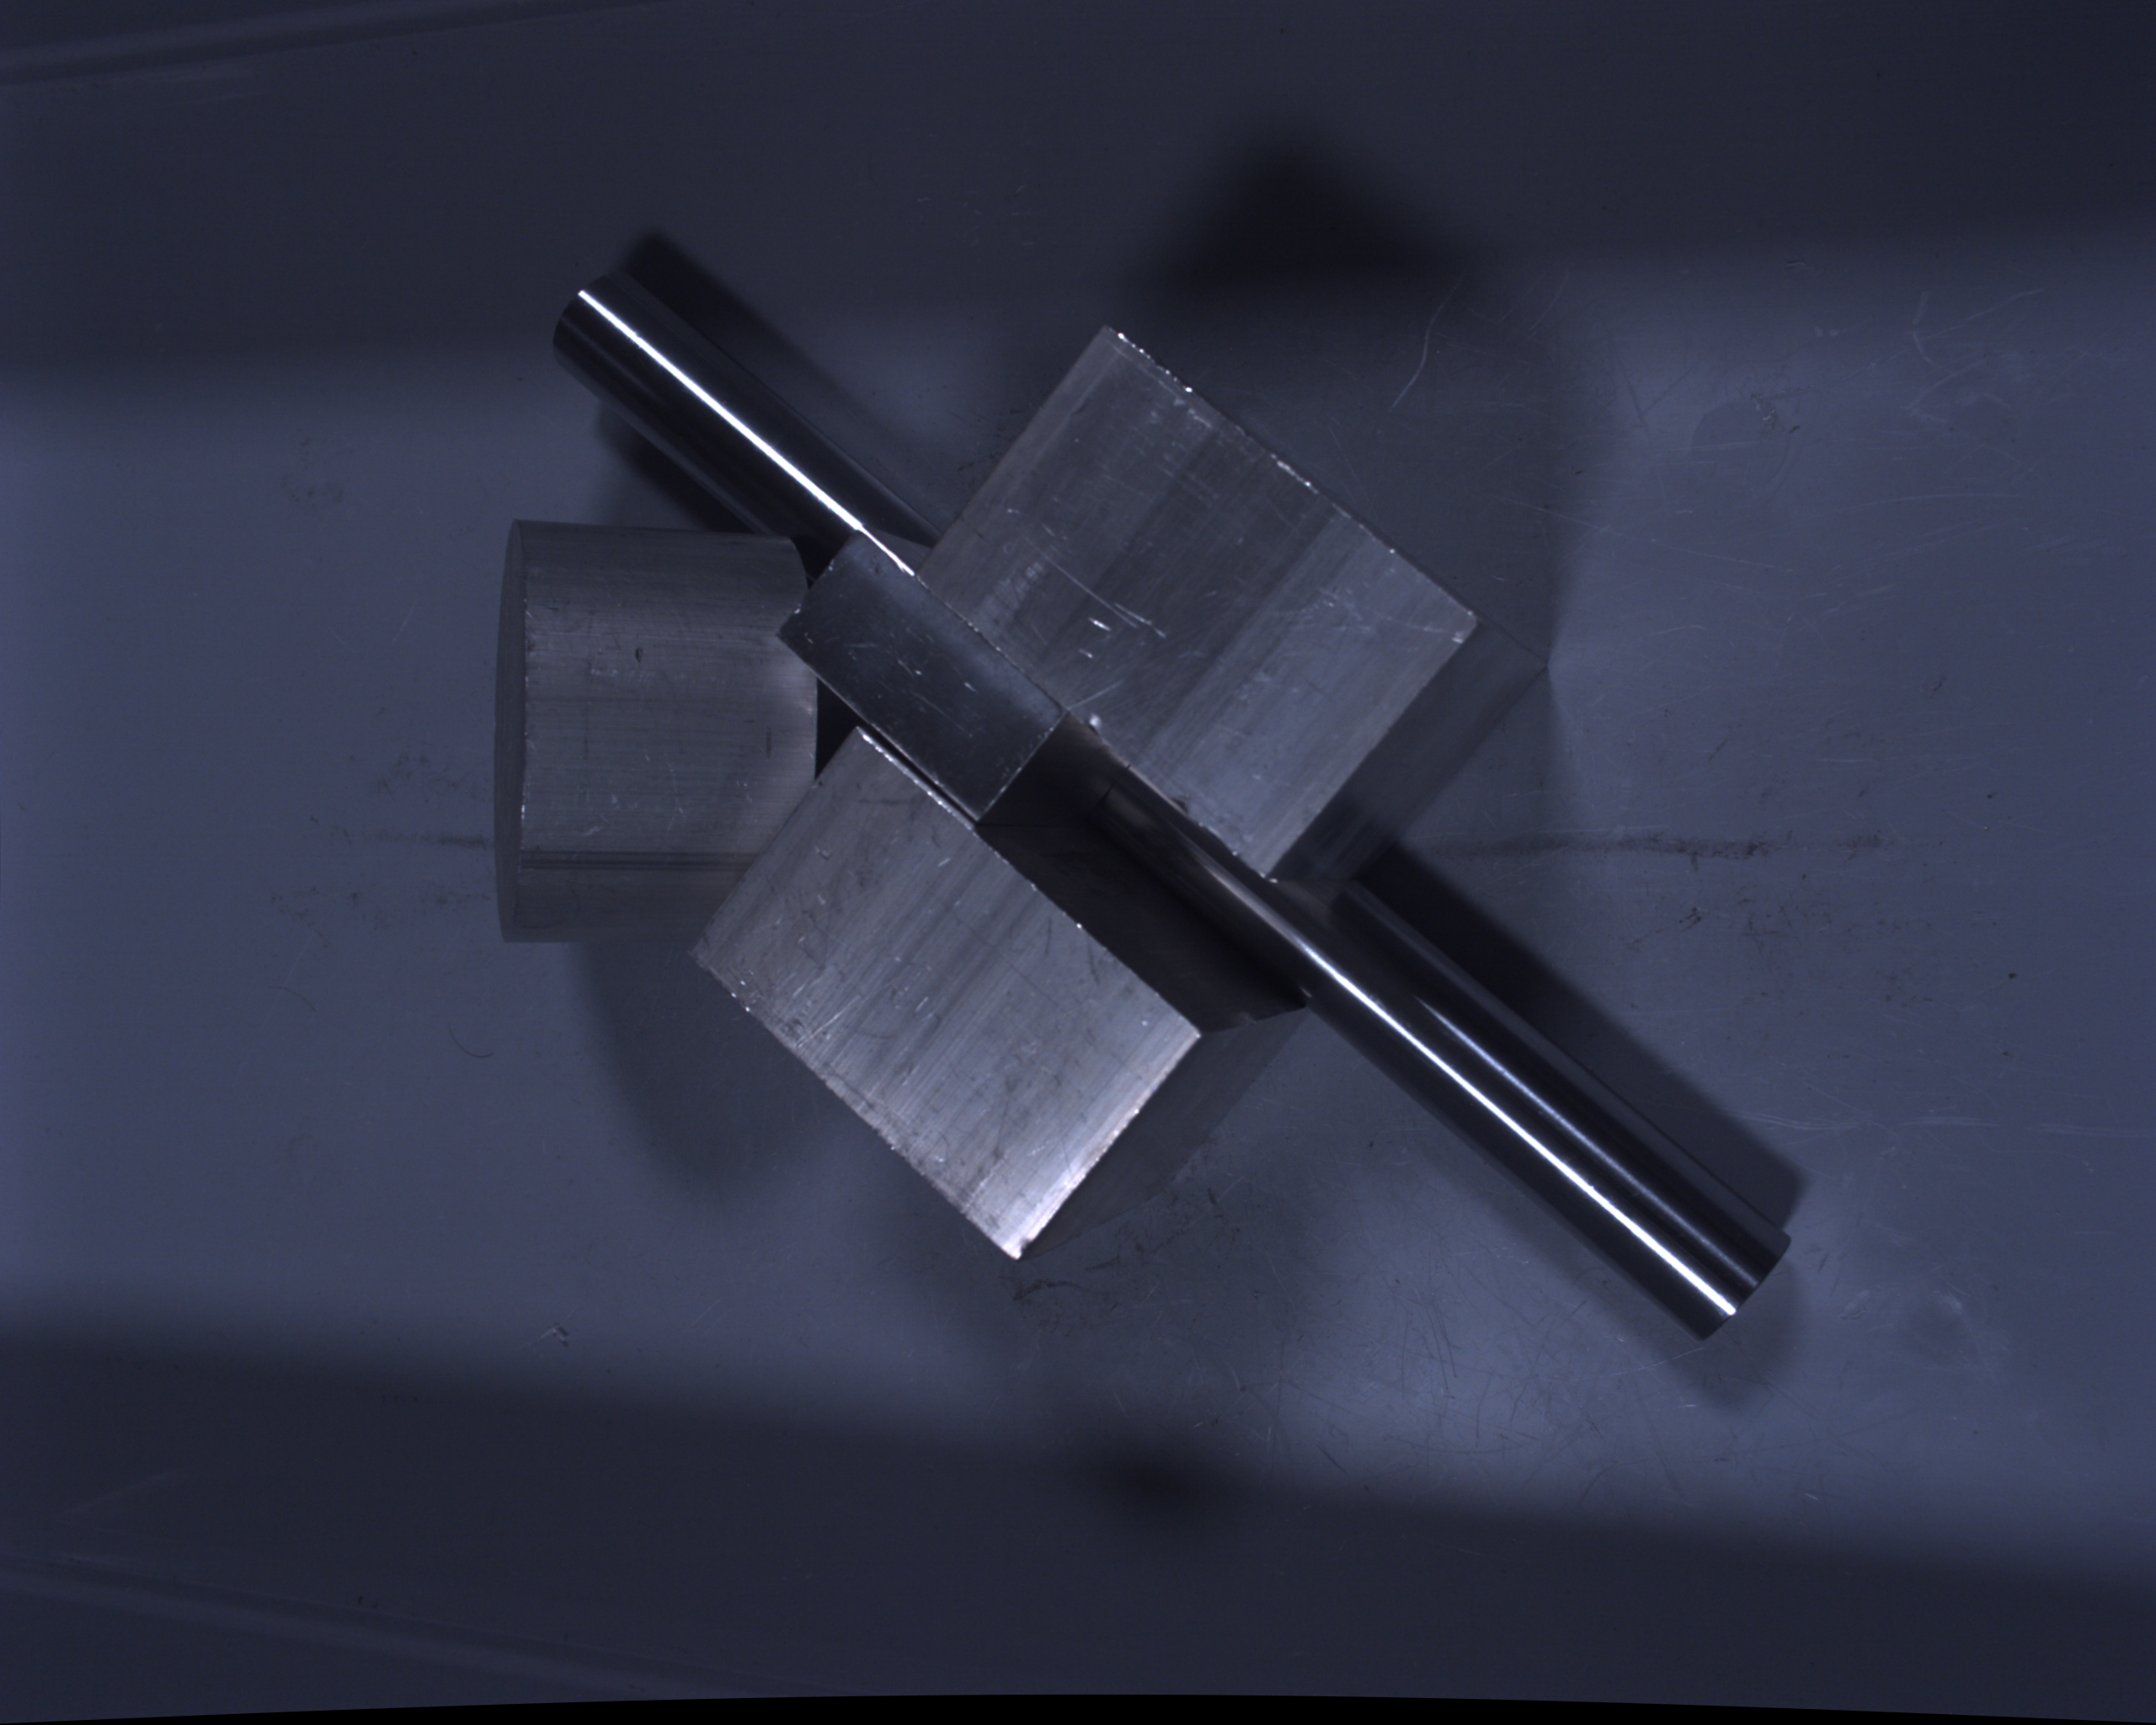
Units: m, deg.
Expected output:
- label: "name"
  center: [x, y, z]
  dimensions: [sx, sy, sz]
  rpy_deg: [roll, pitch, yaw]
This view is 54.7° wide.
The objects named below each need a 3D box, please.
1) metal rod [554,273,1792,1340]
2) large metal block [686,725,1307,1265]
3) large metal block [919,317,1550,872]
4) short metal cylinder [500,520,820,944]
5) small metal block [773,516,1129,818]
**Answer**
- label: "metal rod"
  center: [0.008, -0.020, 0.406]
  dimensions: [0.300, 0.025, 0.025]
  rpy_deg: [41, 103, 15]
- label: "large metal block"
  center: [-0.010, 0.021, 0.383]
  dimensions: [0.080, 0.080, 0.050]
  rpy_deg: [41, 103, 15]
- label: "large metal block"
  center: [0.031, -0.043, 0.369]
  dimensions: [0.080, 0.080, 0.050]
  rpy_deg: [42, 103, 15]
- label: "short metal cylinder"
  center: [-0.083, -0.024, 0.402]
  dimensions: [0.050, 0.080, 0.079]
  rpy_deg: [1, 90, -20]
- label: "small metal block"
  center: [-0.019, -0.034, 0.377]
  dimensions: [0.050, 0.050, 0.025]
  rpy_deg: [42, 103, 14]
